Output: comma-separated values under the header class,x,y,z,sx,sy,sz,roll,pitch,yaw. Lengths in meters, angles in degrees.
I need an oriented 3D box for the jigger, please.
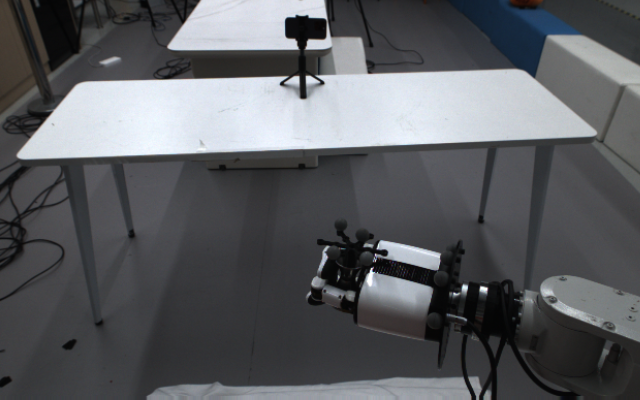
class,x,y,z,sx,sy,sz,roll,pitch,yaw
jigger,0.037,0.105,0.629,0.043,0.071,0.043,6,26,-3
